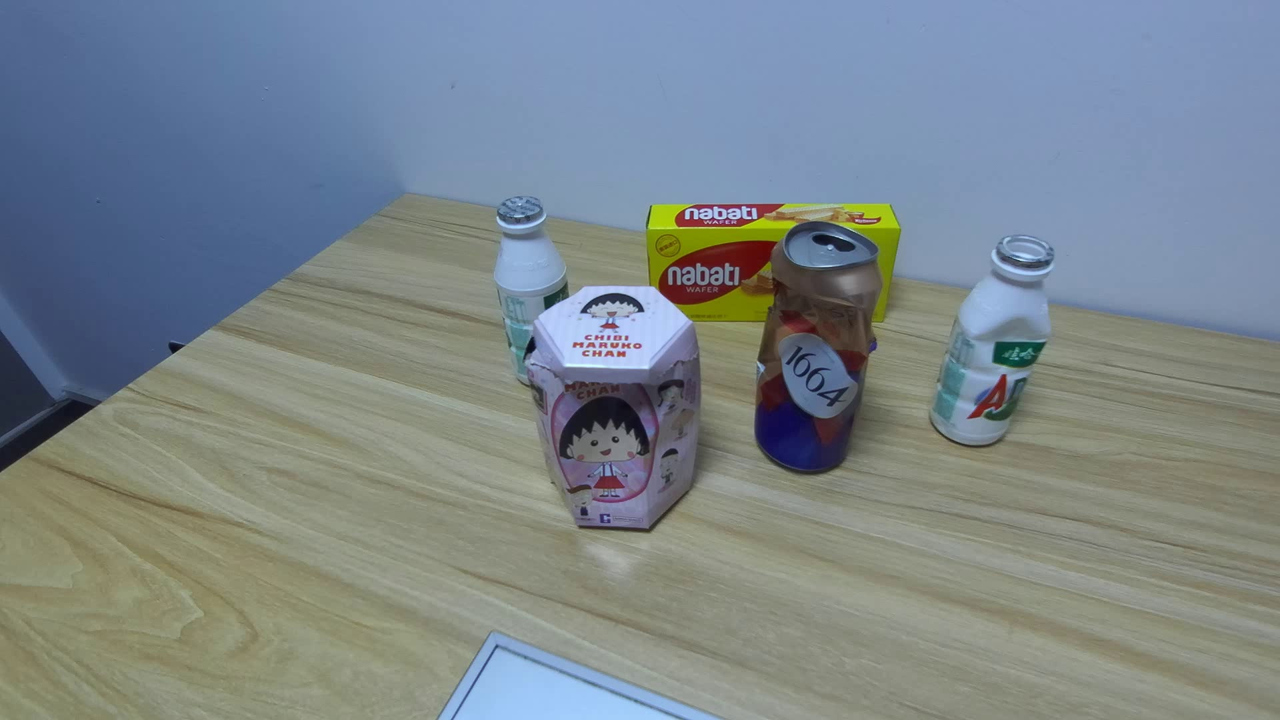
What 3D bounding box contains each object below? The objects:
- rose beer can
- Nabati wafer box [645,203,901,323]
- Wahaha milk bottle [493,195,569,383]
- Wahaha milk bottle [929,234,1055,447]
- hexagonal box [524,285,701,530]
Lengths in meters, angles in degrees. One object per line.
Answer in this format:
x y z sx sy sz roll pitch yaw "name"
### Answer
0.109 -0.004 0.447 0.073 0.162 0.068 14 40 19 "rose beer can"
0.109 -0.080 0.595 0.203 0.093 0.042 0 39 3 "Nabati wafer box"
-0.078 -0.047 0.525 0.053 0.147 0.053 -3 36 2 "Wahaha milk bottle"
0.230 -0.009 0.458 0.056 0.148 0.056 -2 41 2 "Wahaha milk bottle"
-0.015 0.030 0.438 0.090 0.135 0.091 -32 46 -33 "hexagonal box"
